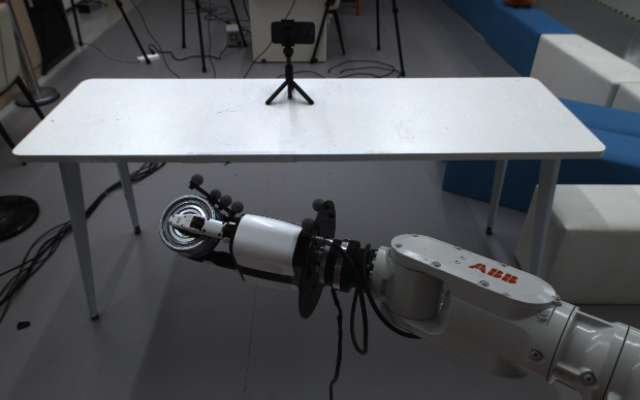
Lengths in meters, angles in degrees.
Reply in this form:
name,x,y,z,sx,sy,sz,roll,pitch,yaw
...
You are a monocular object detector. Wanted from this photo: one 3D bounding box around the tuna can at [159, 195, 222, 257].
name,x,y,z,sx,sy,sz,roll,pitch,yaw
tuna can,-0.181,0.037,0.685,0.085,0.034,0.085,-4,69,9
